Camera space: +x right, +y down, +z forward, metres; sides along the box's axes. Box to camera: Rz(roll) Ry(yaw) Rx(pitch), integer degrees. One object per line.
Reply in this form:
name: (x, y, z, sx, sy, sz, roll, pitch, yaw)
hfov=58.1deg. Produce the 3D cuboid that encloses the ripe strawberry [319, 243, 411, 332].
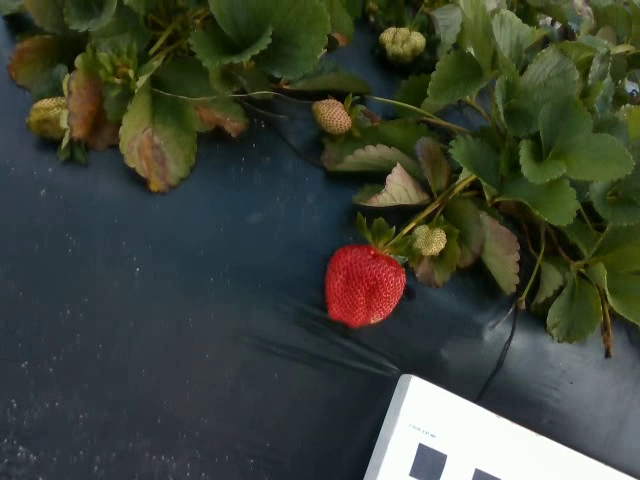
ripe strawberry: (0.033, 0.034, 0.435, 0.067, 0.075, 0.039, 29, -20, -5)
